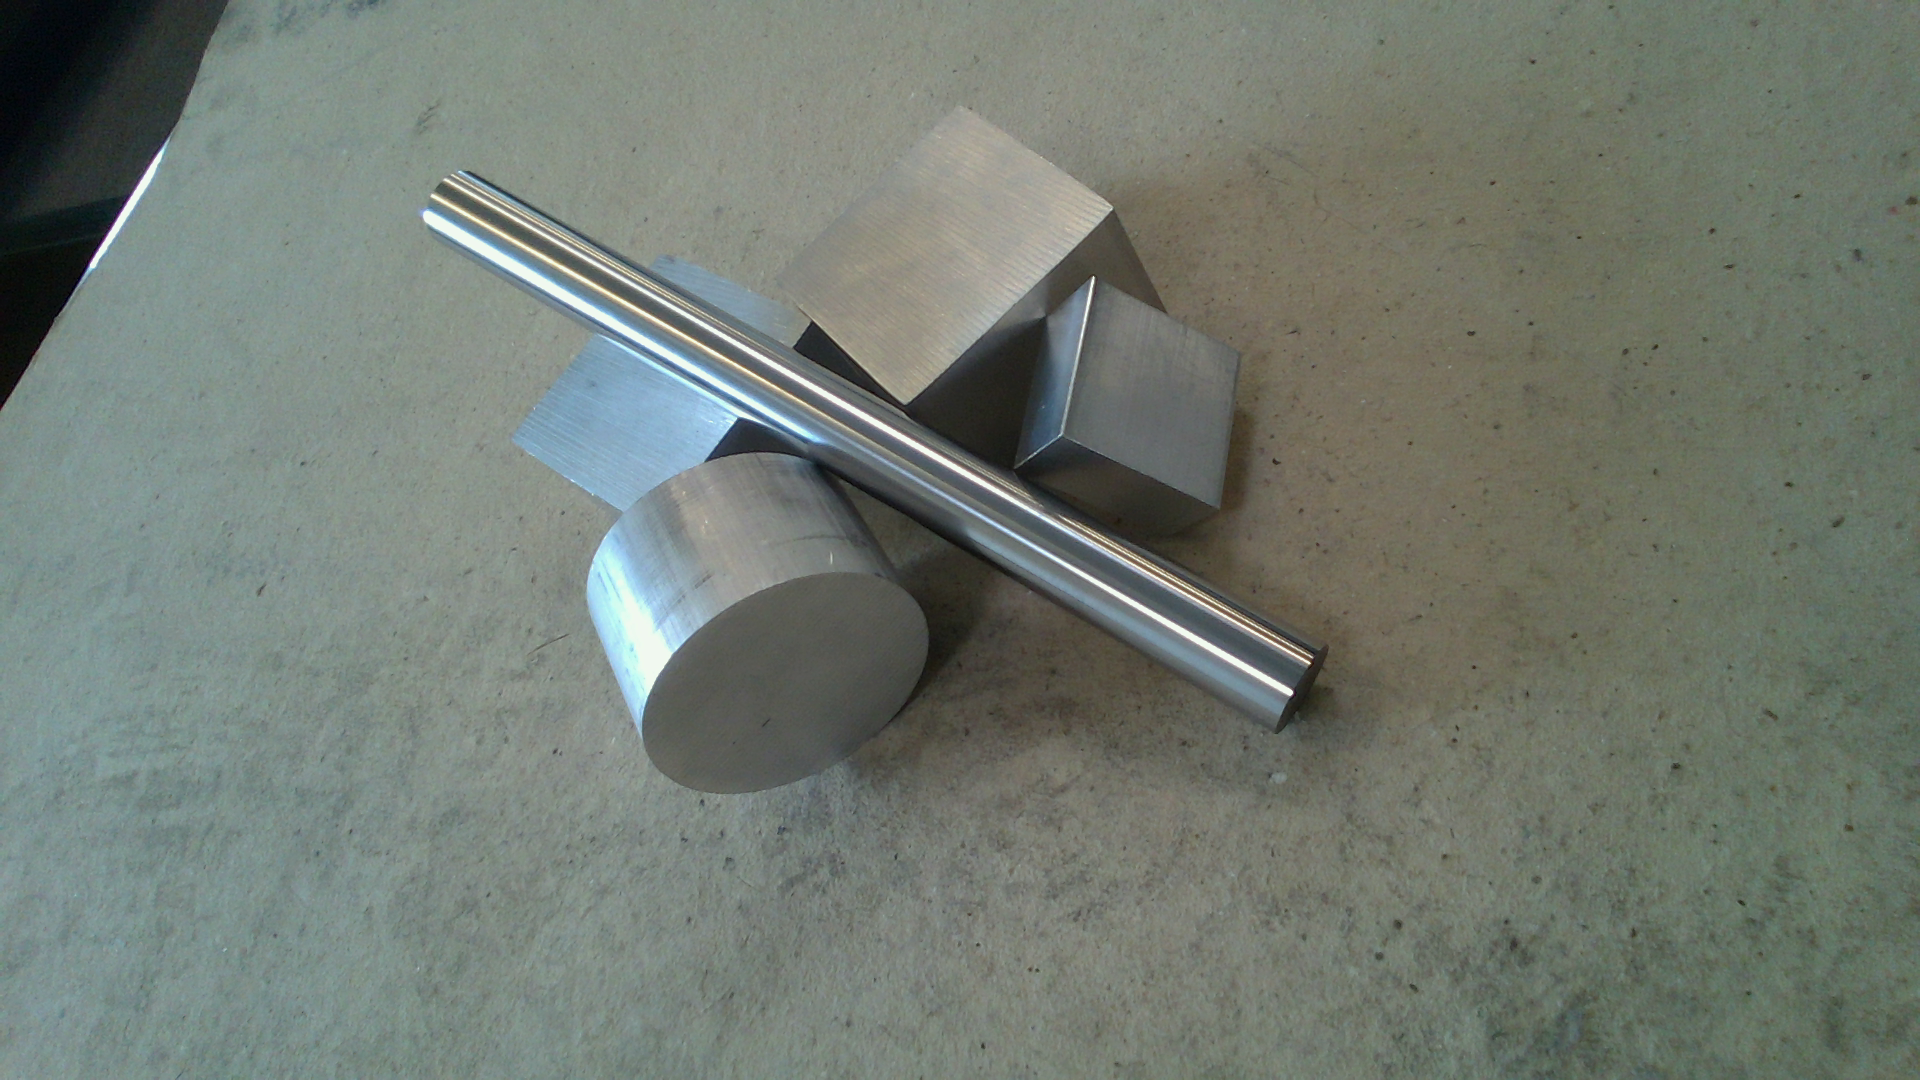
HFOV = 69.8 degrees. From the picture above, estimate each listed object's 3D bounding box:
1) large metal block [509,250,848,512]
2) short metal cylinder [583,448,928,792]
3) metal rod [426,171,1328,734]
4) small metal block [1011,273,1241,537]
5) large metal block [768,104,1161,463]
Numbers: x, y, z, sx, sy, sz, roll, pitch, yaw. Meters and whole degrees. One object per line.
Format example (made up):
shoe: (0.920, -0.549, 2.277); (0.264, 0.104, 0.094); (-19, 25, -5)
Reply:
large metal block: (-0.084, -0.038, 0.447); (0.080, 0.050, 0.080); (28, 77, 37)
short metal cylinder: (-0.056, 0.022, 0.374); (0.080, 0.080, 0.050); (-38, 51, 3)
metal rod: (-0.039, -0.035, 0.383); (0.299, 0.025, 0.025); (30, 78, 21)
small metal block: (0.046, -0.036, 0.372); (0.025, 0.050, 0.050); (-32, 40, 56)
large metal block: (0.002, -0.074, 0.419); (0.080, 0.050, 0.080); (-43, 51, -1)
